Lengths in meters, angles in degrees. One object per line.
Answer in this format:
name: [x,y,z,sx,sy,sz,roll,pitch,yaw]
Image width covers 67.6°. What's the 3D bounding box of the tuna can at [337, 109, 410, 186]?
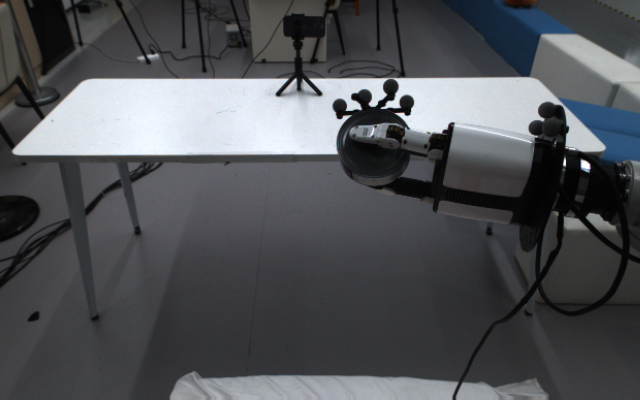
tuna can: [0.064,-0.061,0.562,0.085,0.034,0.085,-2,68,6]
